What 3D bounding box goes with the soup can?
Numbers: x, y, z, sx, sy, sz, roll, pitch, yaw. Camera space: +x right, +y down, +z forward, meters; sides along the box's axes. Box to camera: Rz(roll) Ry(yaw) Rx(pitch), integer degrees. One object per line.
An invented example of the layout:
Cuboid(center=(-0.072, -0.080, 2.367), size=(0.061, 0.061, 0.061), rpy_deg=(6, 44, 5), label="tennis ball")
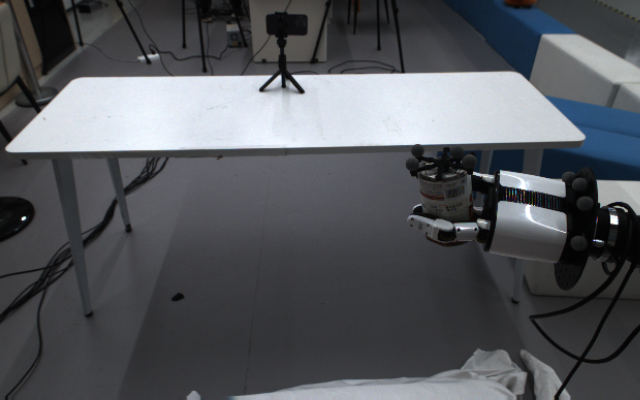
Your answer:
Cuboid(center=(0.171, 0.001, 0.641), size=(0.067, 0.101, 0.067), rpy_deg=(-11, 27, 6), label="soup can")
